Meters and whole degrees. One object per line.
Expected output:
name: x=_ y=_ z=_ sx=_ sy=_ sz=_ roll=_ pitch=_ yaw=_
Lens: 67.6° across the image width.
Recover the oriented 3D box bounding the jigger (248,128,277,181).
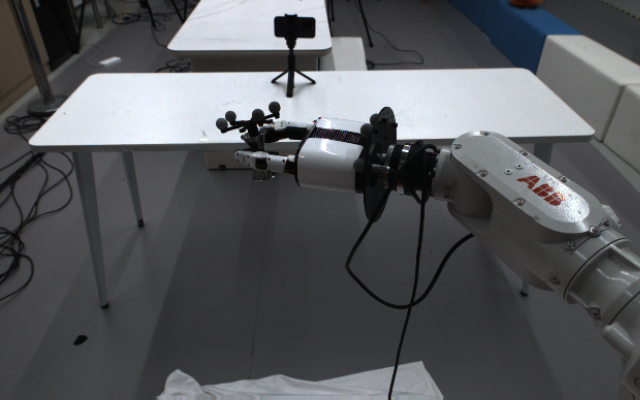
jigger: x=-0.090 y=-0.067 z=0.725 sx=0.043 sy=0.071 sz=0.043 roll=-12 pitch=24 yaw=5
